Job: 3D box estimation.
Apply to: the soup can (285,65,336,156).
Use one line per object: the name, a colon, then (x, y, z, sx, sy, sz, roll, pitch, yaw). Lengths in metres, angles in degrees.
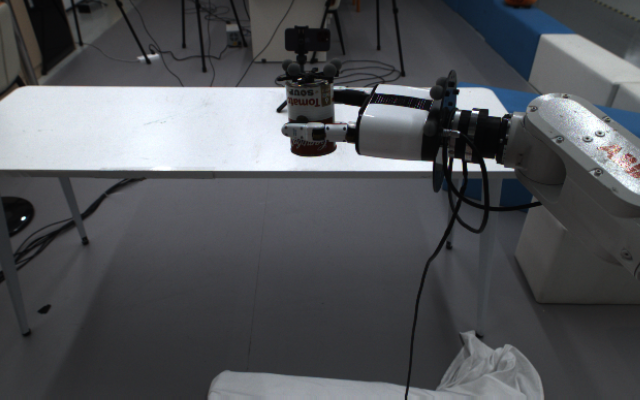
soup can: (-0.012, -0.121, 0.687, 0.067, 0.101, 0.067, -3, 26, 2)
